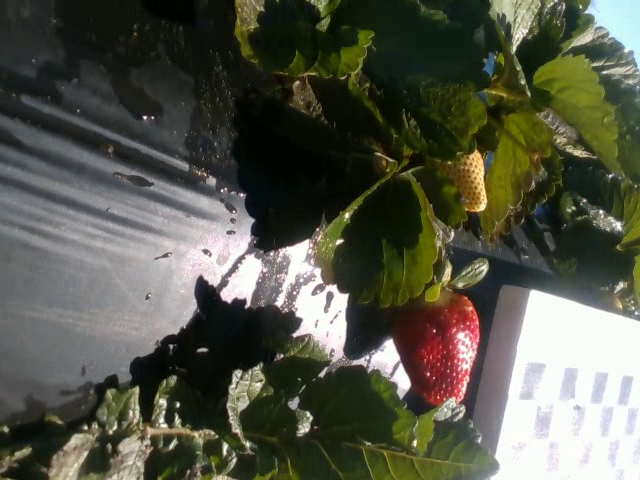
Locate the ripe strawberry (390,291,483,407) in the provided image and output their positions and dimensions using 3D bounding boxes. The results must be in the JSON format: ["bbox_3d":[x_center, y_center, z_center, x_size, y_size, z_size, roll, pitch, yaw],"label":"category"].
[{"bbox_3d":[0.062,0.058,0.321,0.048,0.069,0.040,-8,6,-39],"label":"ripe strawberry"}]
